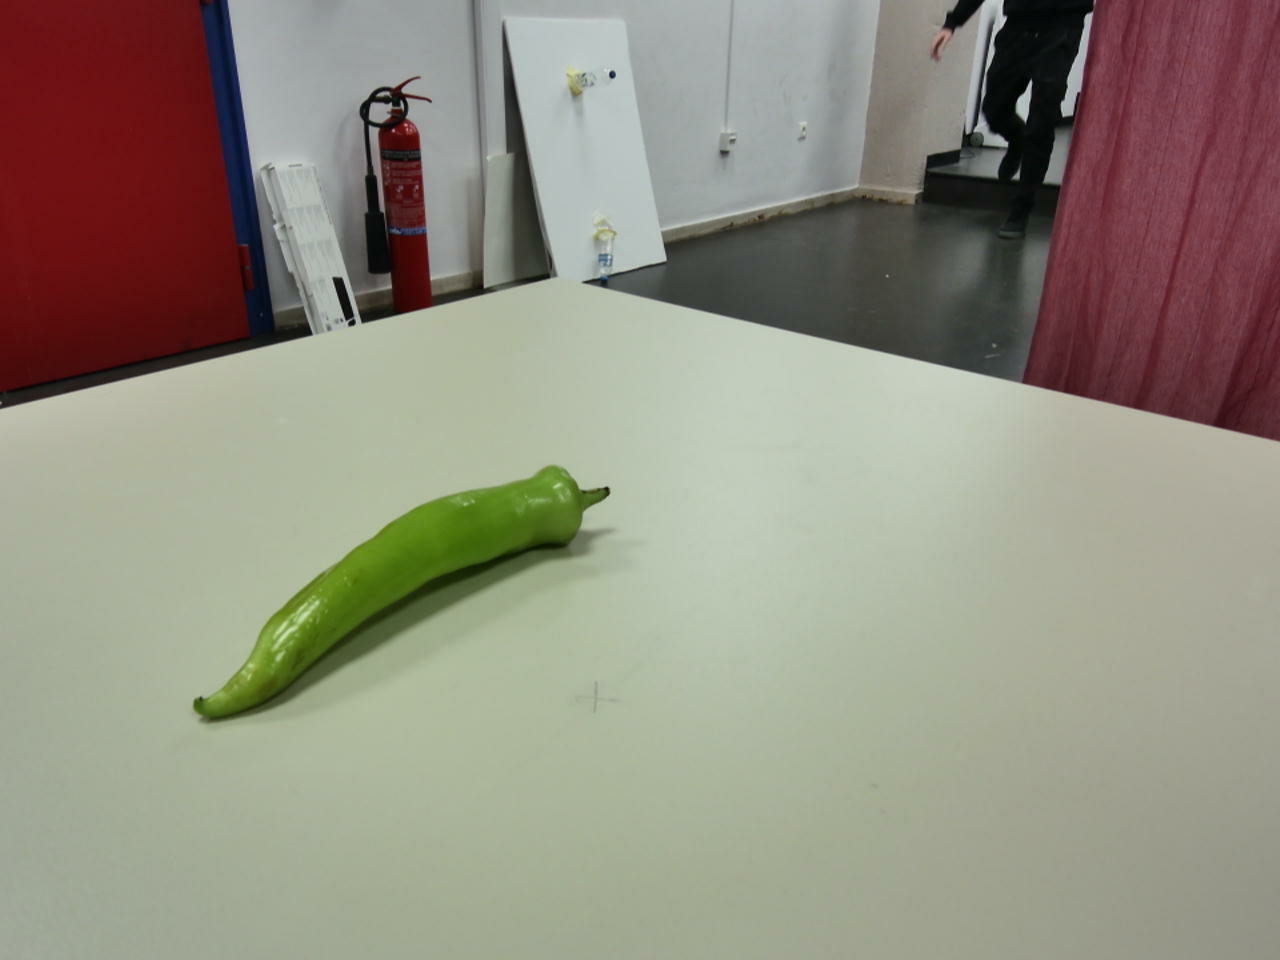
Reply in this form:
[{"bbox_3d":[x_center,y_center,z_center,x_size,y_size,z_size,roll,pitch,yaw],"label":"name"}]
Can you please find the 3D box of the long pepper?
[{"bbox_3d":[-0.090,0.033,0.399,0.047,0.038,0.197,19,29,37],"label":"long pepper"}]
